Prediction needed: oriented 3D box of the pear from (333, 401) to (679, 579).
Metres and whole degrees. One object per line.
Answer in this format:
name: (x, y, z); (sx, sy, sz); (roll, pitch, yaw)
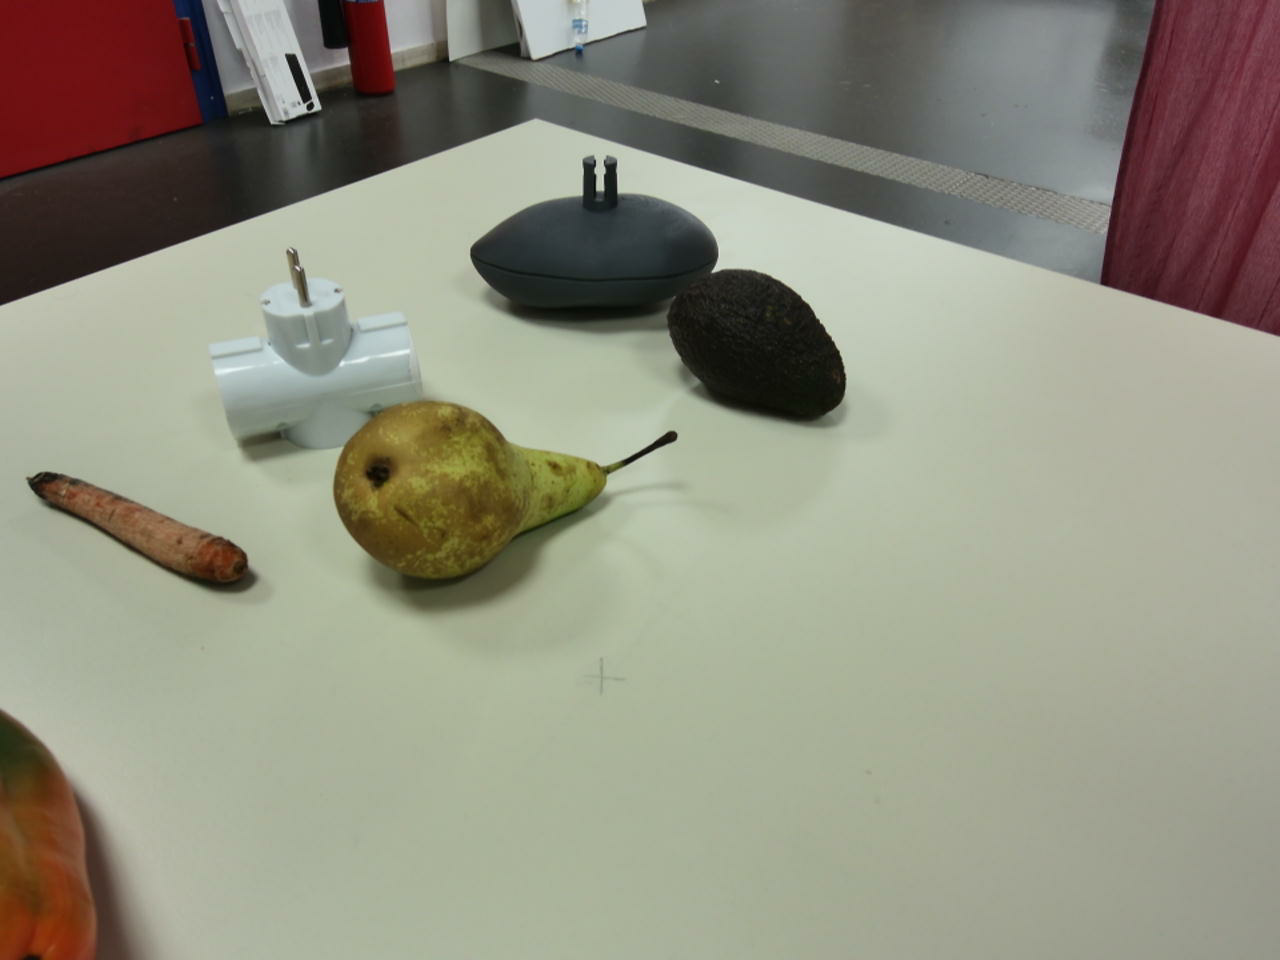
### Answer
pear: (-0.058, -0.010, 0.418); (0.071, 0.075, 0.144); (30, 45, 35)
